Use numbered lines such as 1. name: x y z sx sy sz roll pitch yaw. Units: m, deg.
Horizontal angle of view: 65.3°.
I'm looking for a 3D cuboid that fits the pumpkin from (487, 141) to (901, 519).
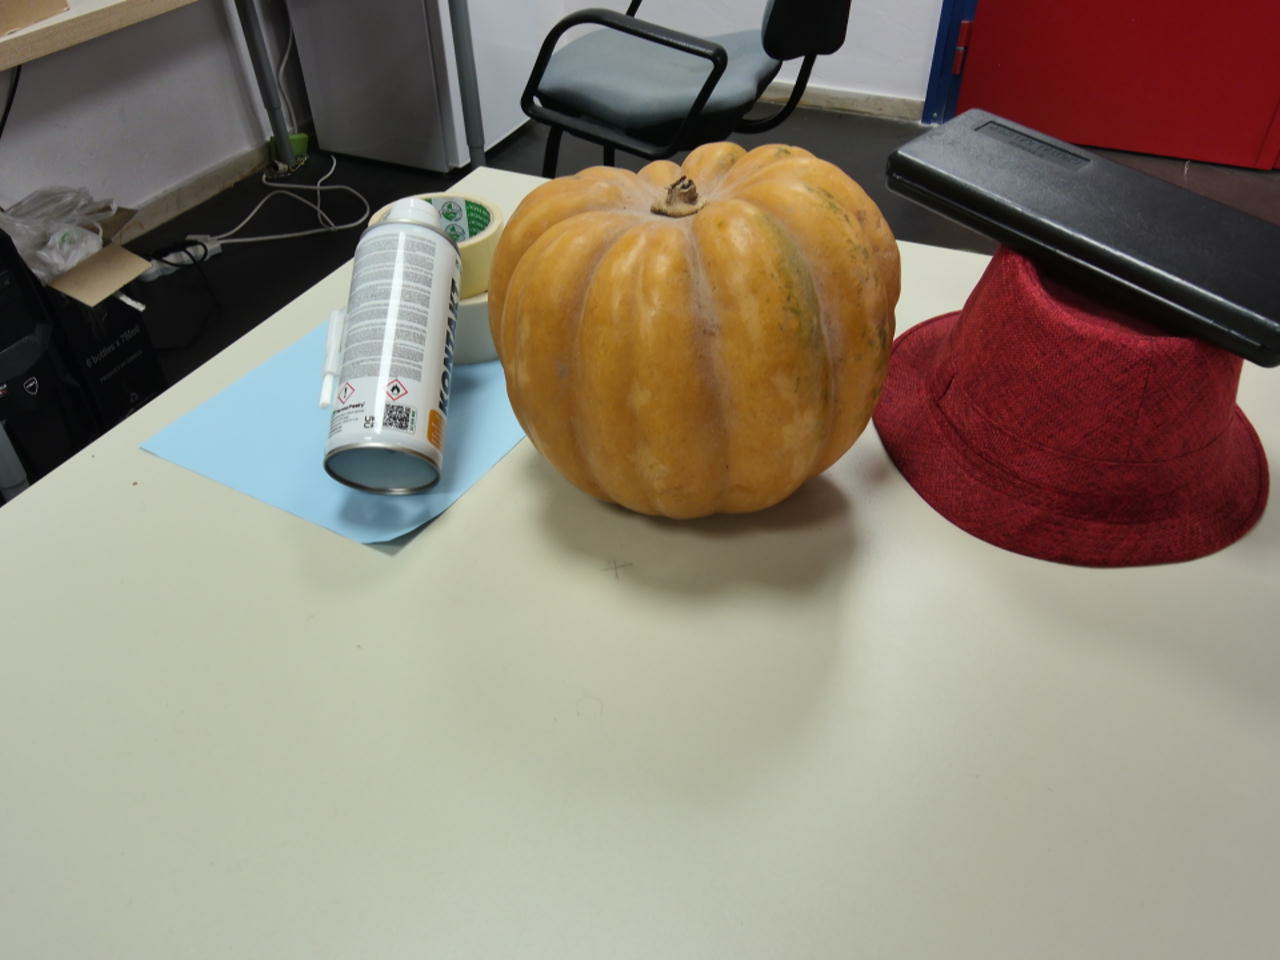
1. pumpkin: 0.031 -0.083 0.560 0.230 0.194 0.230 0 39 0
